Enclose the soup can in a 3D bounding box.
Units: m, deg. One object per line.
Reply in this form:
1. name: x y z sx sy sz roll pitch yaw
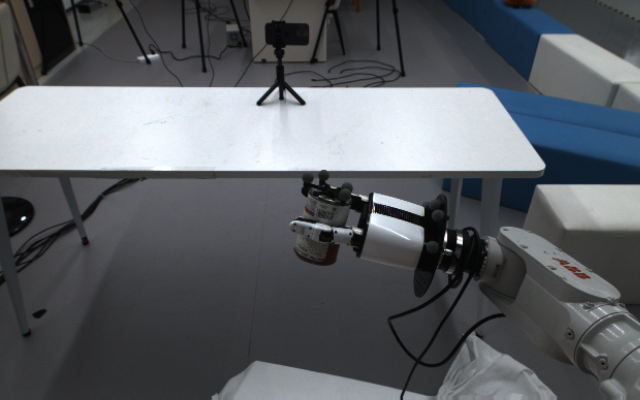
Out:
1. soup can: 0.005 0.039 0.728 0.067 0.101 0.067 13 18 -4
